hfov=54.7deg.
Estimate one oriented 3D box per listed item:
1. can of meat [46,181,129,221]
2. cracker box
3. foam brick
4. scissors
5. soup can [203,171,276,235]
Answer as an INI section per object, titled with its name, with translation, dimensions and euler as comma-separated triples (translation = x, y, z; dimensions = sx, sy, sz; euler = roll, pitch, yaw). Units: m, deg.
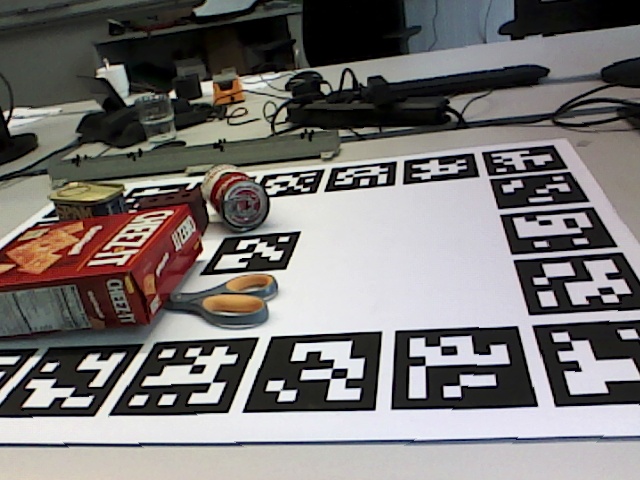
[can of meat]
translation = -0.294, -0.027, 0.808
dimensions = 0.102, 0.083, 0.058
euler = 3, 31, 23
[cracker box]
translation = -0.263, 0.031, 0.673
dimensions = 0.214, 0.072, 0.164
euler = -10, 26, 9
[foam brick]
translation = -0.194, -0.033, 0.826
dimensions = 0.078, 0.051, 0.053
euler = -9, 28, 2
[scissors]
translation = -0.150, 0.067, 0.633
dimensions = 0.203, 0.016, 0.088
euler = -7, 28, 7
[soup can]
translation = -0.110, -0.052, 0.833
dimensions = 0.067, 0.068, 0.103
euler = -22, 24, -22
